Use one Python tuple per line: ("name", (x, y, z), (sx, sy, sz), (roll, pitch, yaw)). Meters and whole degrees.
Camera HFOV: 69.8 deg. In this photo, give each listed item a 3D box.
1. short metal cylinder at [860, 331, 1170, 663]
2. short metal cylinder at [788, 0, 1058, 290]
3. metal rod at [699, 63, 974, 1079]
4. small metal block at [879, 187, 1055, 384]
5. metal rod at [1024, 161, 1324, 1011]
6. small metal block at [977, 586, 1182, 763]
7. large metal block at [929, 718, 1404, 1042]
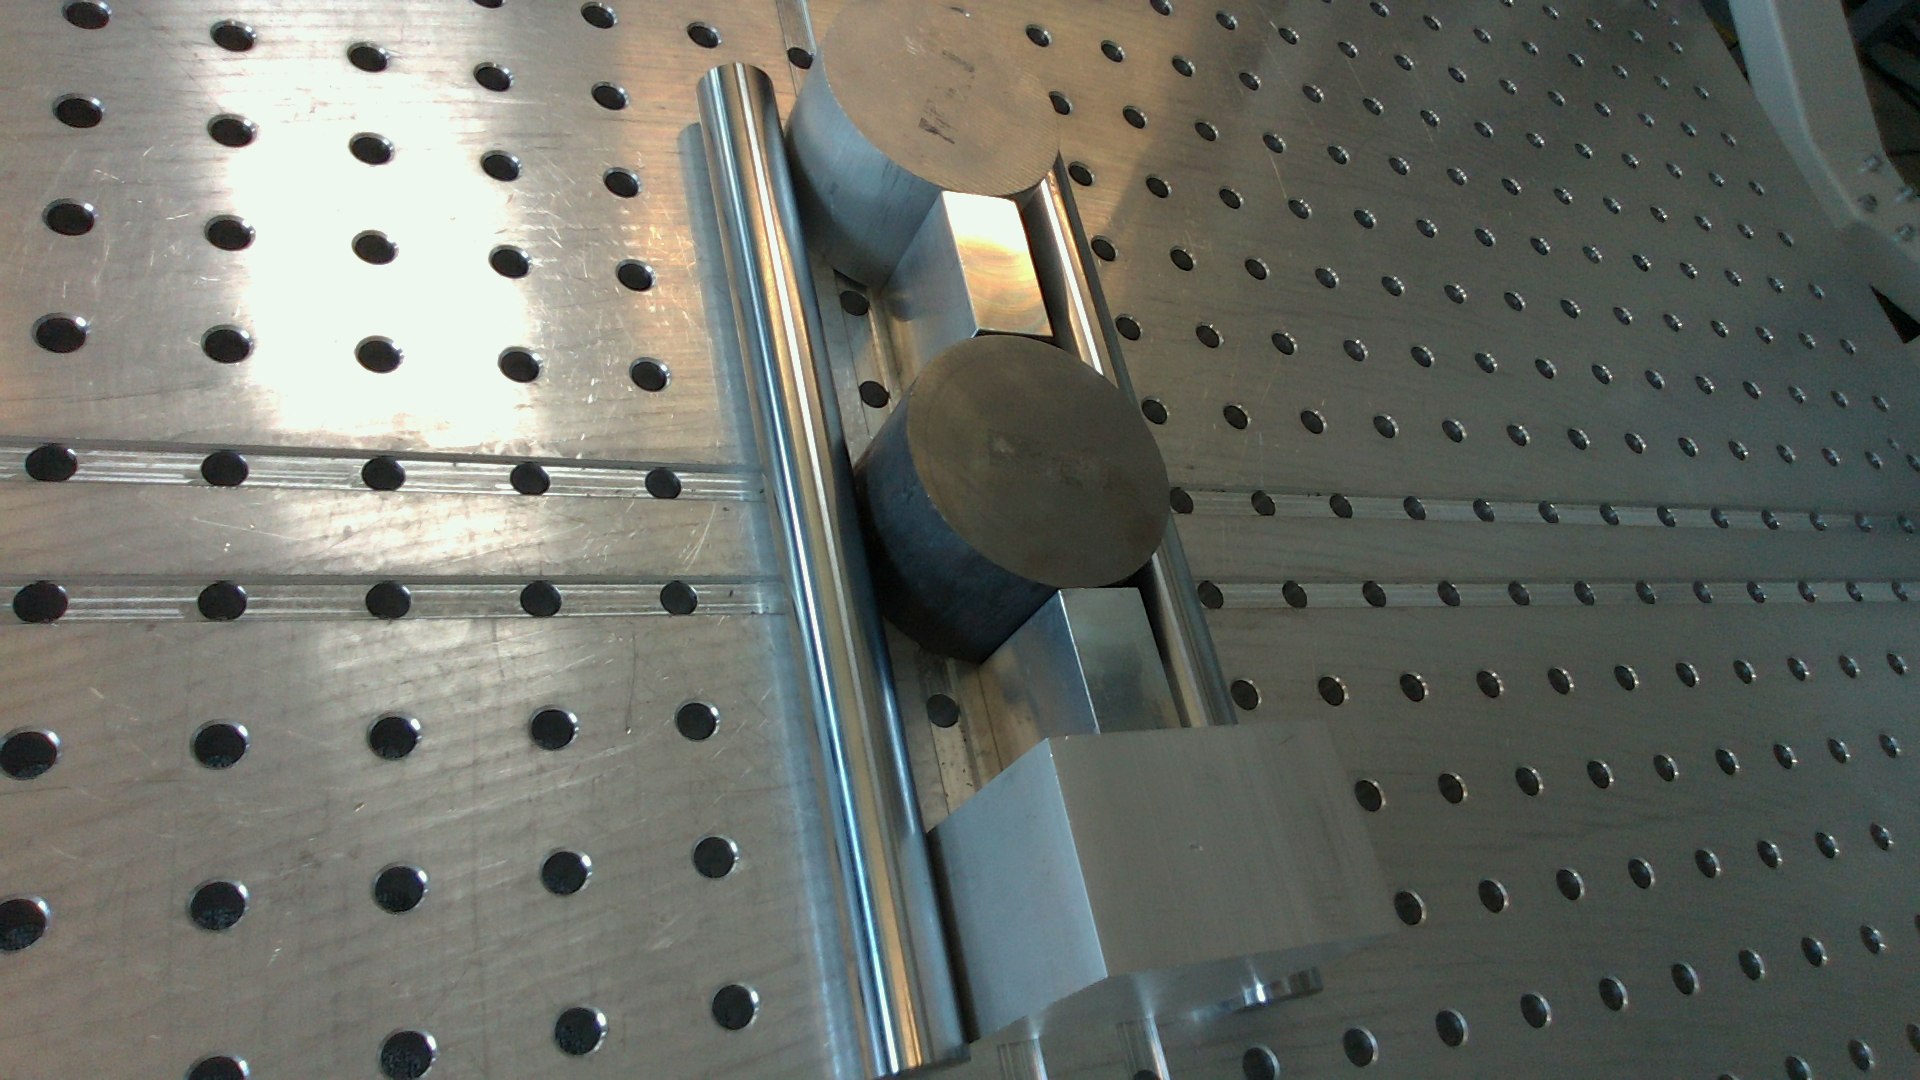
("short metal cylinder", (0.012, -0.012, 0.390), (0.080, 0.050, 0.080), (14, 56, -21))
("short metal cylinder", (-0.015, -0.126, 0.445), (0.080, 0.050, 0.080), (14, 56, -21))
("metal rod", (-0.040, -0.011, 0.377), (0.025, 0.025, 0.300), (1, 61, -28))
("small metal block", (0.001, -0.069, 0.418), (0.025, 0.050, 0.050), (1, 61, -28))
("metal rod", (0.052, -0.011, 0.426), (0.025, 0.025, 0.300), (1, 61, -28))
("small metal block", (0.031, 0.046, 0.364), (0.025, 0.050, 0.050), (0, 61, -28))
("large metal block", (0.042, 0.083, 0.329), (0.080, 0.080, 0.050), (1, 61, -28))
